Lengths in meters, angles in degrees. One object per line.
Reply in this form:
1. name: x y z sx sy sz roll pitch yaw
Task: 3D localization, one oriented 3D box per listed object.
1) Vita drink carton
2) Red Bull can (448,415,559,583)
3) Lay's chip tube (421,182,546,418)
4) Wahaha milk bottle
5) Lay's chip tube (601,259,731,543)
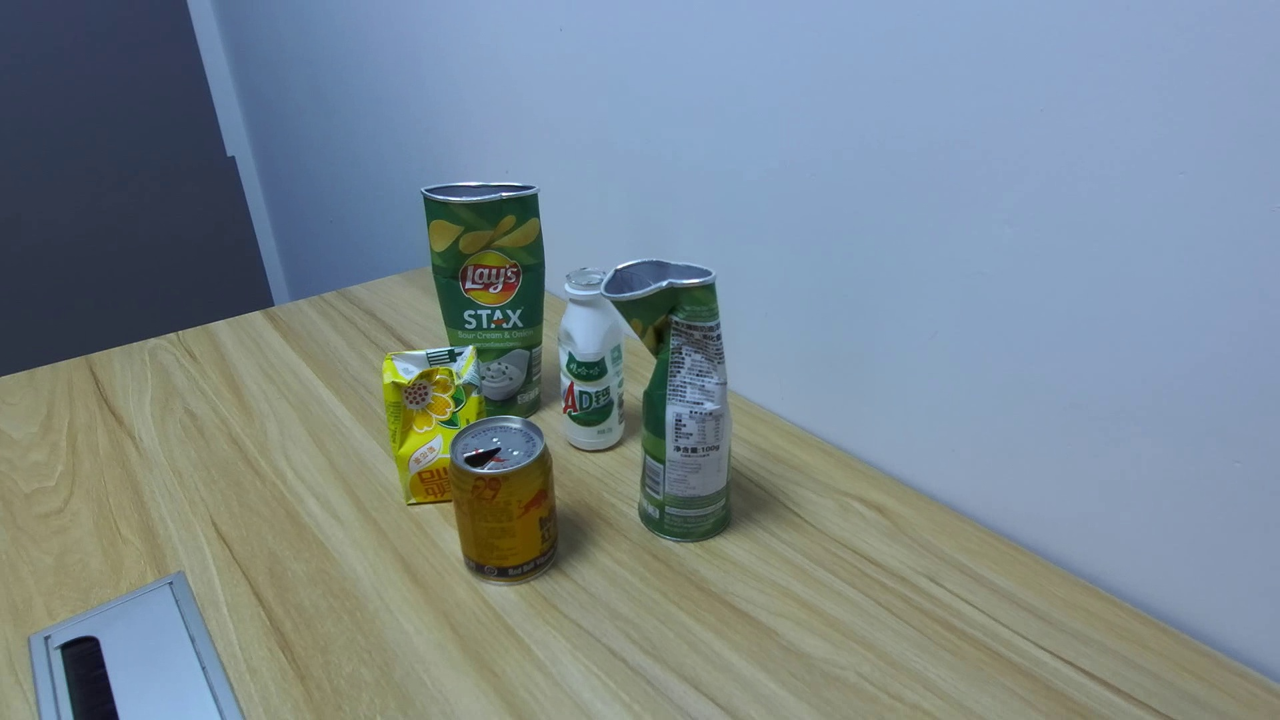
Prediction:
1. Vita drink carton: -0.150 0.050 0.526 0.071 0.110 0.046 -5 27 -9
2. Red Bull can: -0.089 0.091 0.465 0.067 0.093 0.067 1 29 0
3. Lay's chip tube: -0.125 -0.047 0.602 0.075 0.199 0.068 -25 38 -36
4. Wahaha milk bottle: -0.041 0.001 0.564 0.055 0.149 0.055 -1 32 1
5. Lay's chip tube: 0.022 0.028 0.472 0.071 0.200 0.079 -10 29 -2
